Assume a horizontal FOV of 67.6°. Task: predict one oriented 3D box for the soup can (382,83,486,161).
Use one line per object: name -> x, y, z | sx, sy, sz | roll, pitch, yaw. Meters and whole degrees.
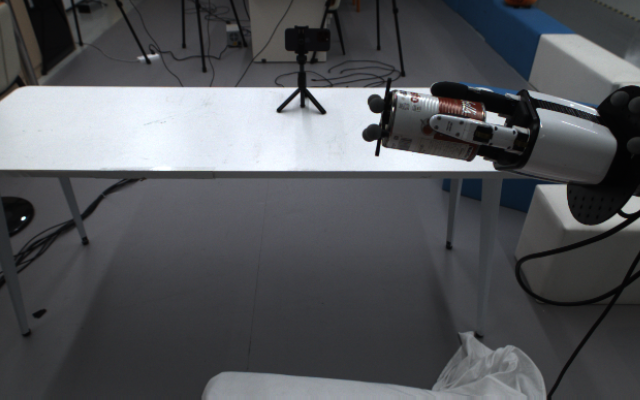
soup can -> 0.129, -0.086, 0.554 | 0.101, 0.067, 0.067 | 9, 35, 1
